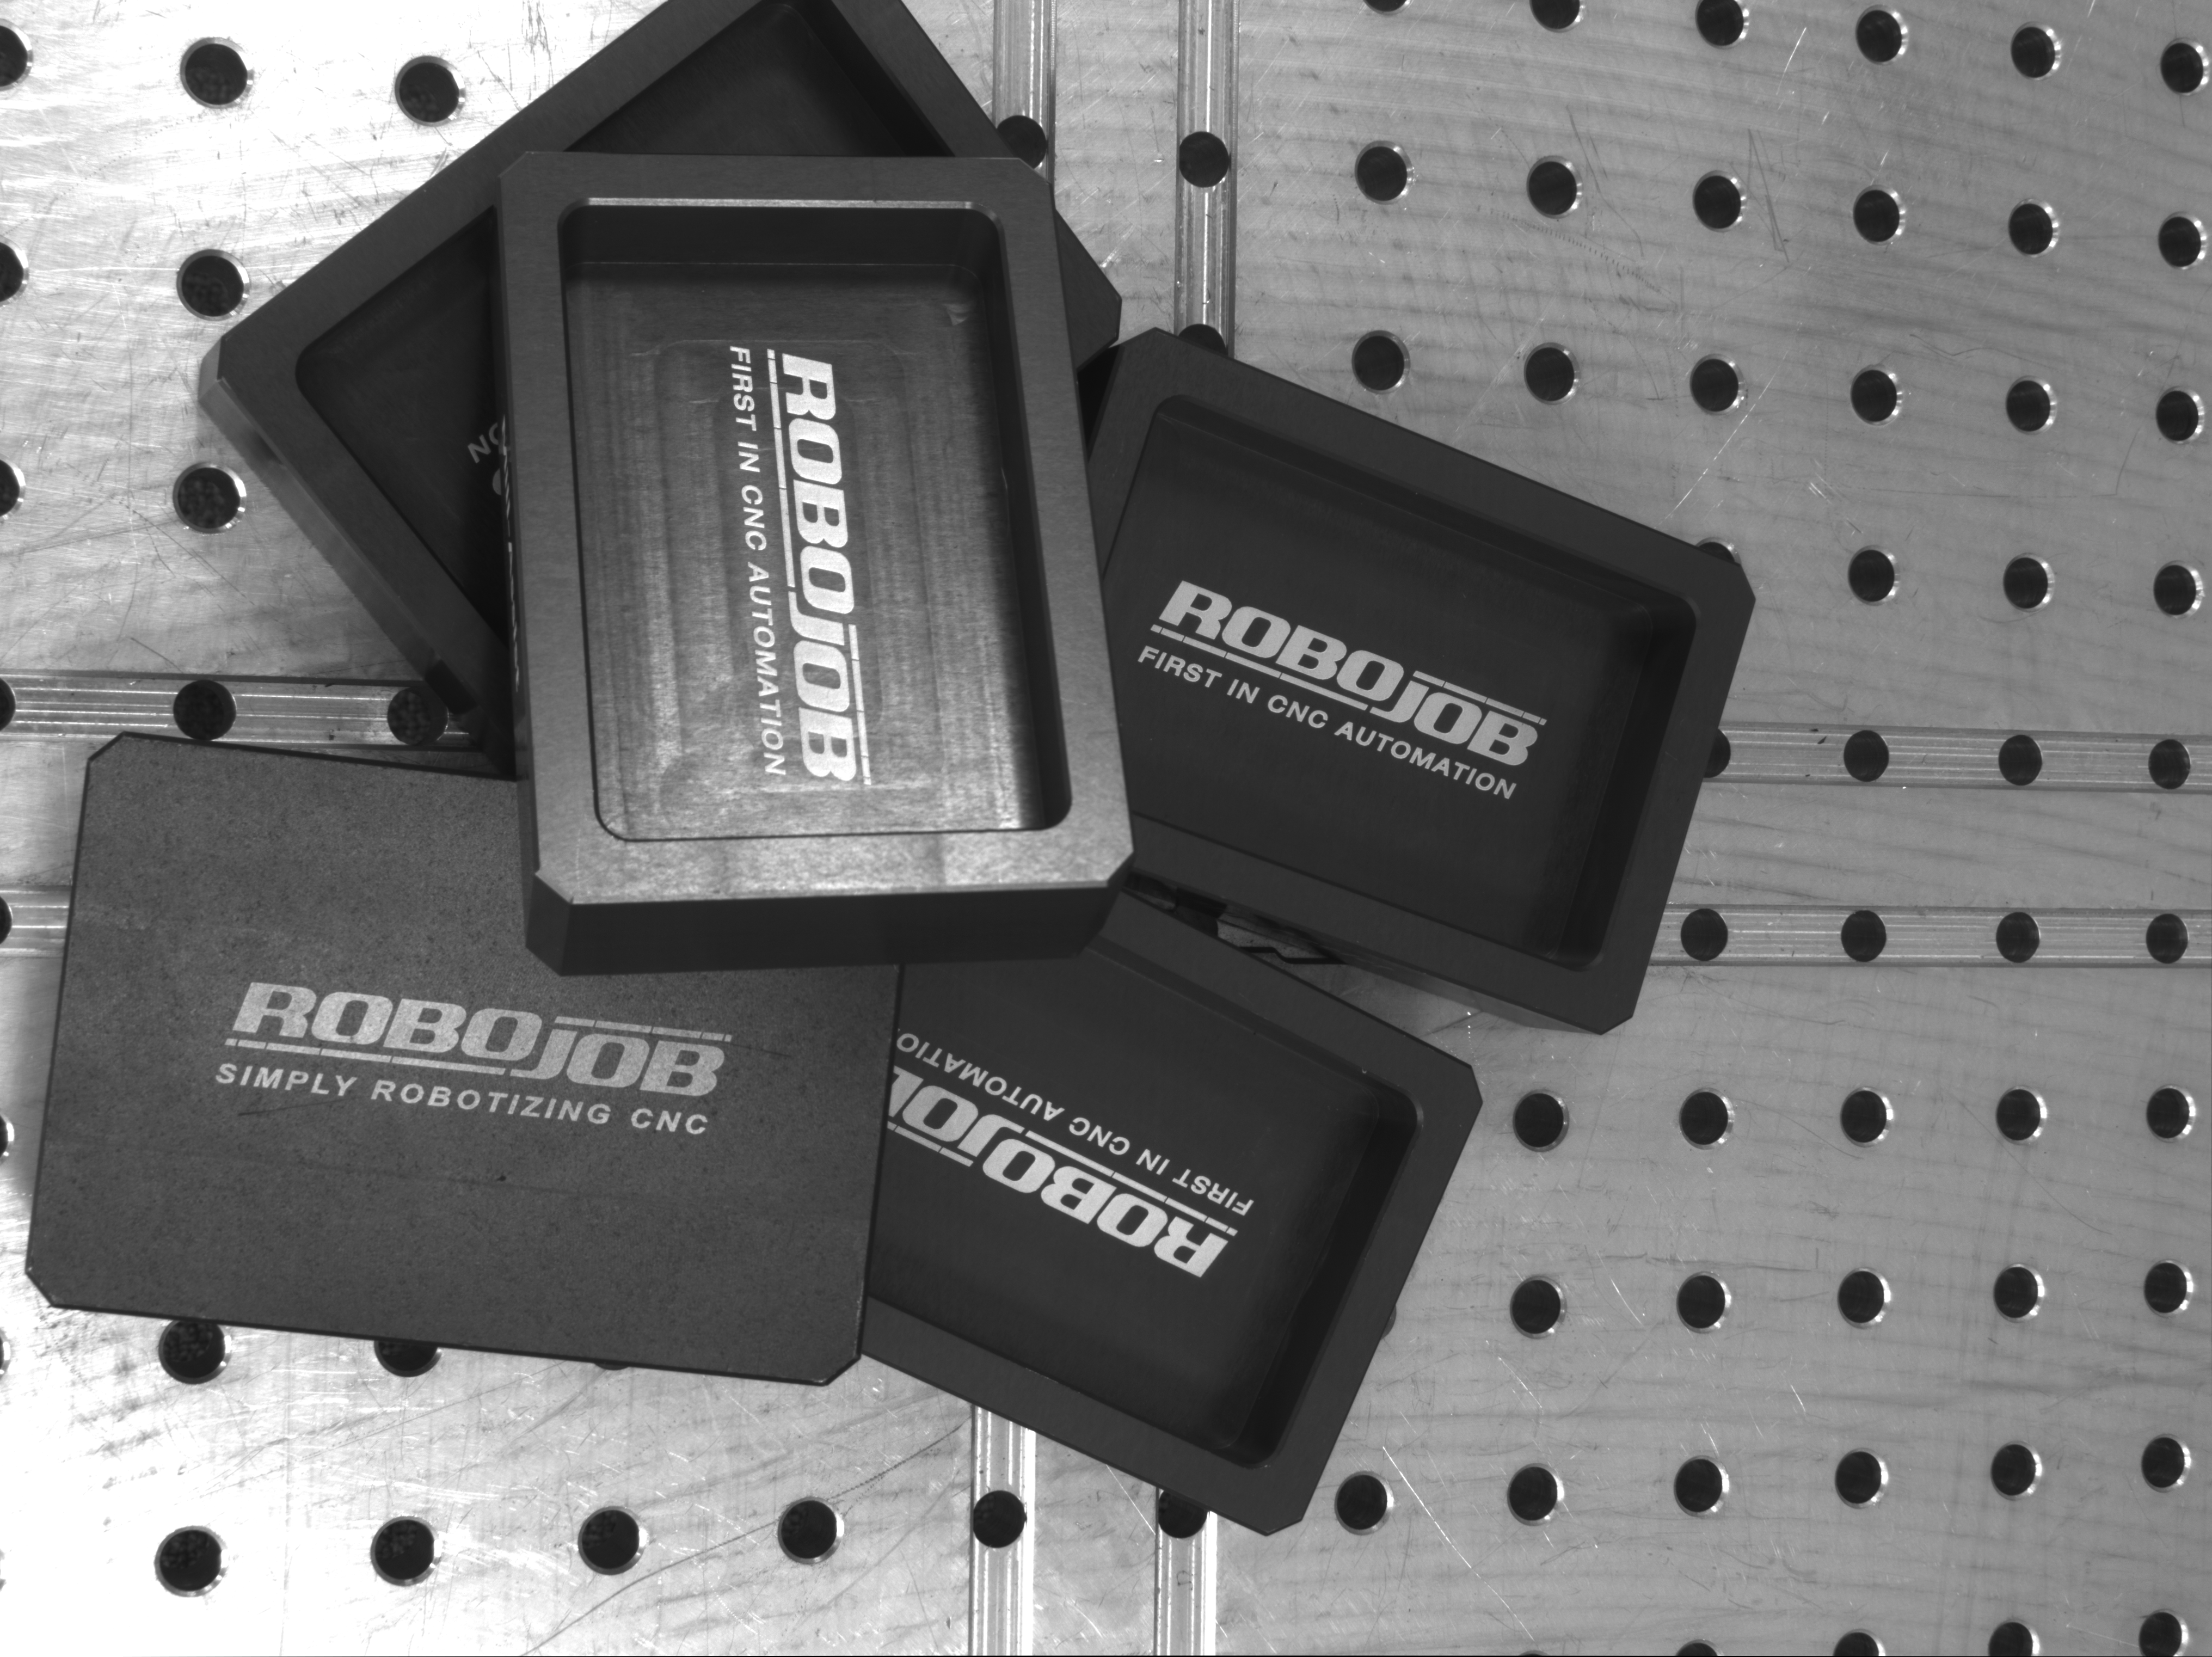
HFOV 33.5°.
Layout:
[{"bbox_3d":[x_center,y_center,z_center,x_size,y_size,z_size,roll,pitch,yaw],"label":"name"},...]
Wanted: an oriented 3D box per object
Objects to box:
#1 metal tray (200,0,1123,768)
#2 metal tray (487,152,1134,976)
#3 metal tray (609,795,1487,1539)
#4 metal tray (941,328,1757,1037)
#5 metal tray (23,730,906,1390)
[{"bbox_3d":[-0.073,-0.080,0.616,0.130,0.030,0.090,-41,102,-15],"label":"metal tray"},{"bbox_3d":[-0.049,-0.044,0.580,0.090,0.030,0.130,-2,66,-13],"label":"metal tray"},{"bbox_3d":[-0.009,0.057,0.639,0.130,0.030,0.090,27,82,-18],"label":"metal tray"},{"bbox_3d":[0.044,-0.024,0.658,0.130,0.030,0.090,19,84,-19],"label":"metal tray"},{"bbox_3d":[-0.100,0.037,0.589,0.130,0.030,0.090,7,88,-6],"label":"metal tray"}]
